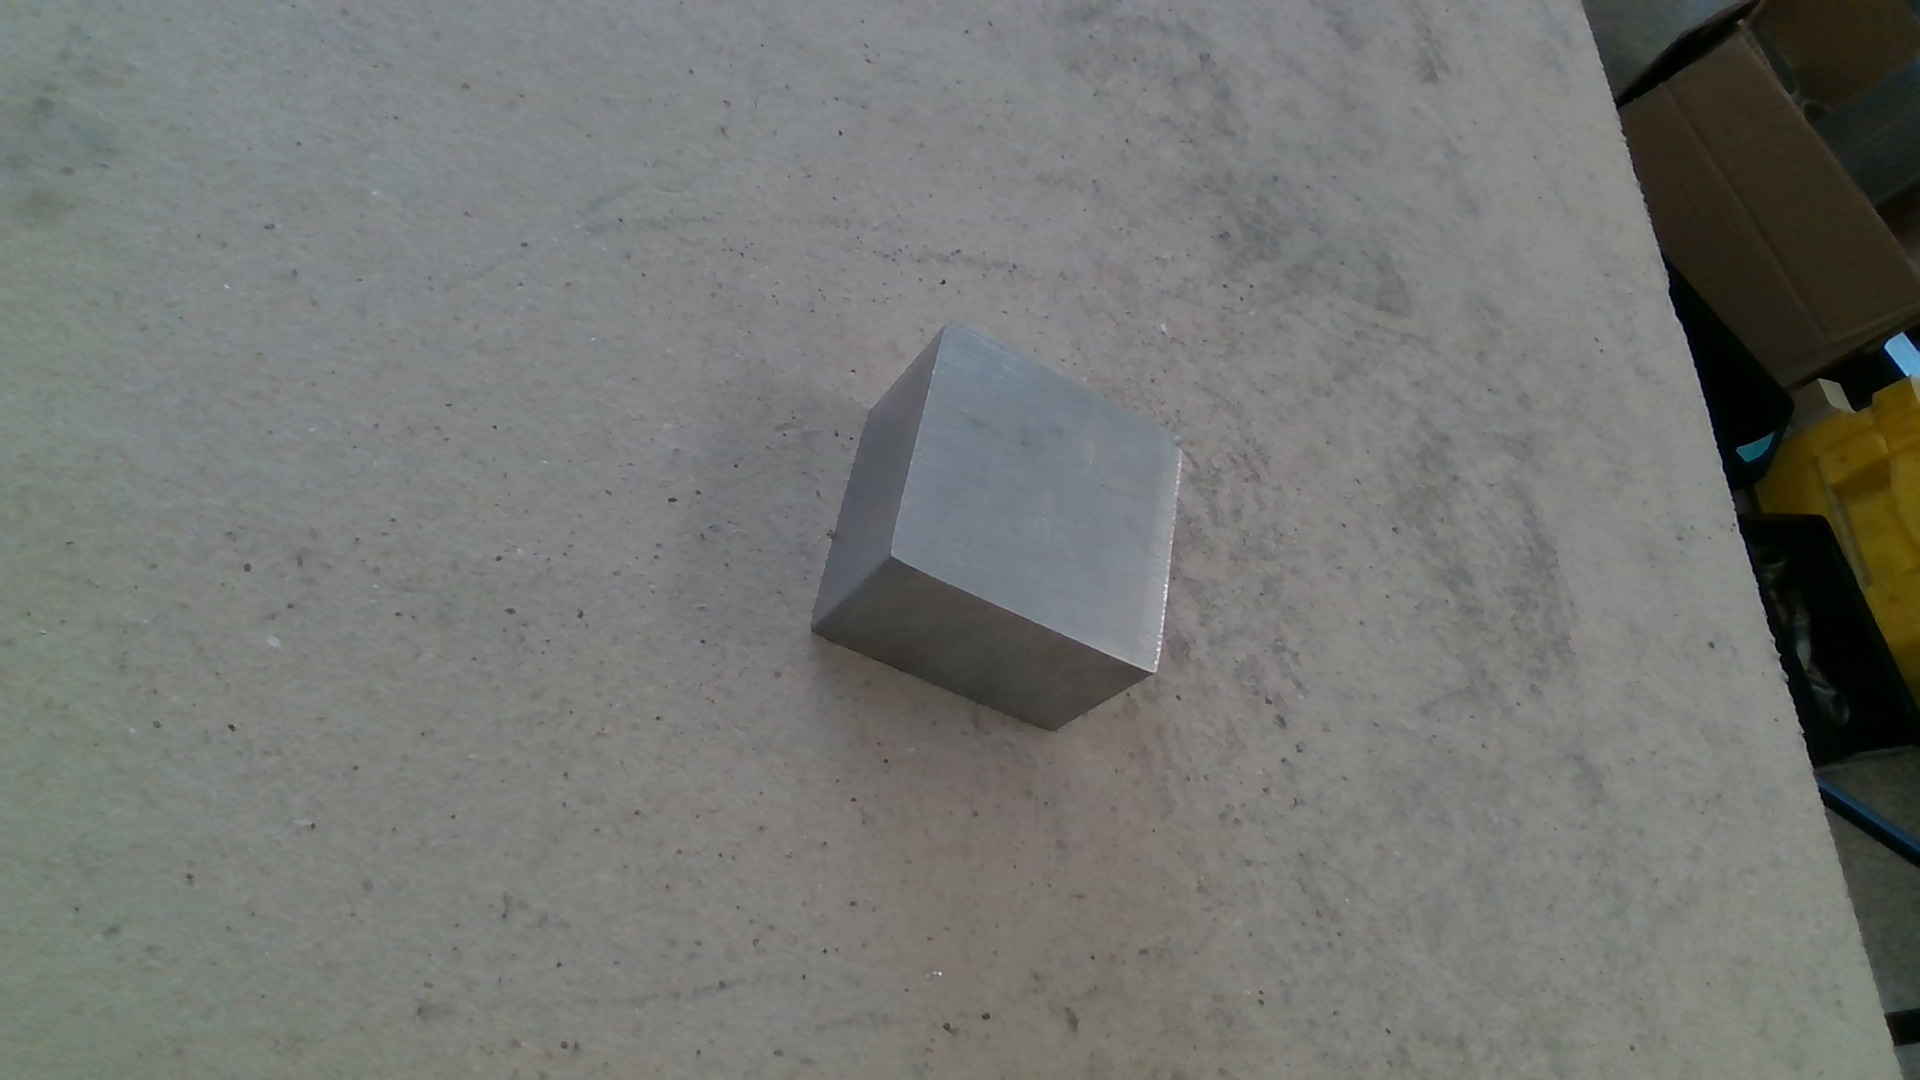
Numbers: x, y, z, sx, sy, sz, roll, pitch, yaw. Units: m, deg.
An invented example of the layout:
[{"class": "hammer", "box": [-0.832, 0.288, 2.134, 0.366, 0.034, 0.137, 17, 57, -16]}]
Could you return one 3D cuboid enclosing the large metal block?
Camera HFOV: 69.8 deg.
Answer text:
[{"class": "large metal block", "box": [0.012, -0.003, 0.386, 0.080, 0.050, 0.080, 24, 56, -18]}]
